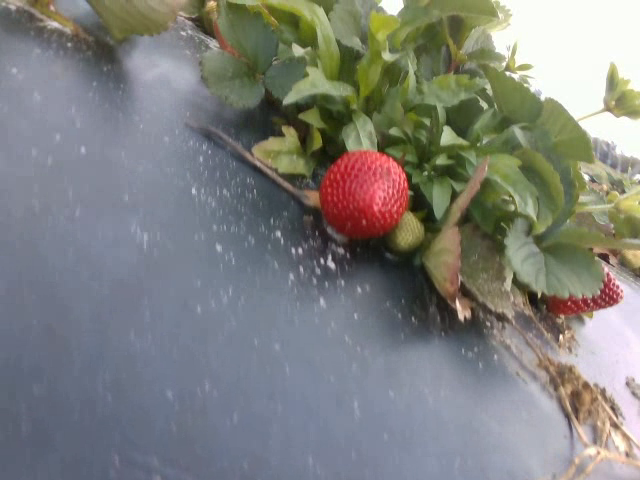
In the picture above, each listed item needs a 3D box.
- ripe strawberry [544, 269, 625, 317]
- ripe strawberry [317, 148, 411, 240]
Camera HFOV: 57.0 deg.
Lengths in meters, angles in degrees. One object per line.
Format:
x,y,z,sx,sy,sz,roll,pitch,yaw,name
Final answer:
0.150,0.023,0.335,0.046,0.047,0.043,23,42,20,ripe strawberry
0.017,-0.016,0.248,0.043,0.043,0.051,34,21,-10,ripe strawberry
